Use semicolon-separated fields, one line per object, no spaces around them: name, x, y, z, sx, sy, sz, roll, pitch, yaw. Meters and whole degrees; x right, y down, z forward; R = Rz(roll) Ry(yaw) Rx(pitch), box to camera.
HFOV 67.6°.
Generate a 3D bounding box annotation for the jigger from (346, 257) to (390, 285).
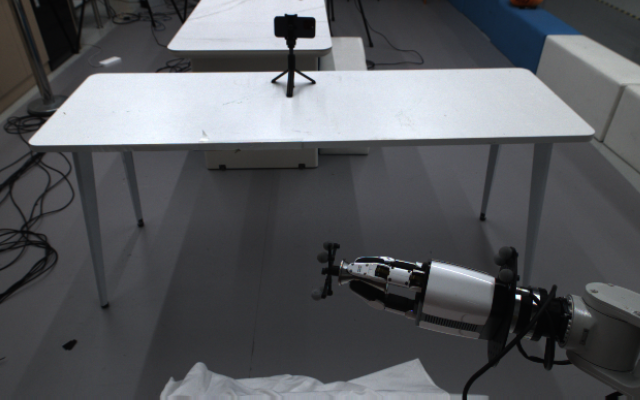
jigger;0.070;0.103;0.687;0.071;0.043;0.043;6;35;13
